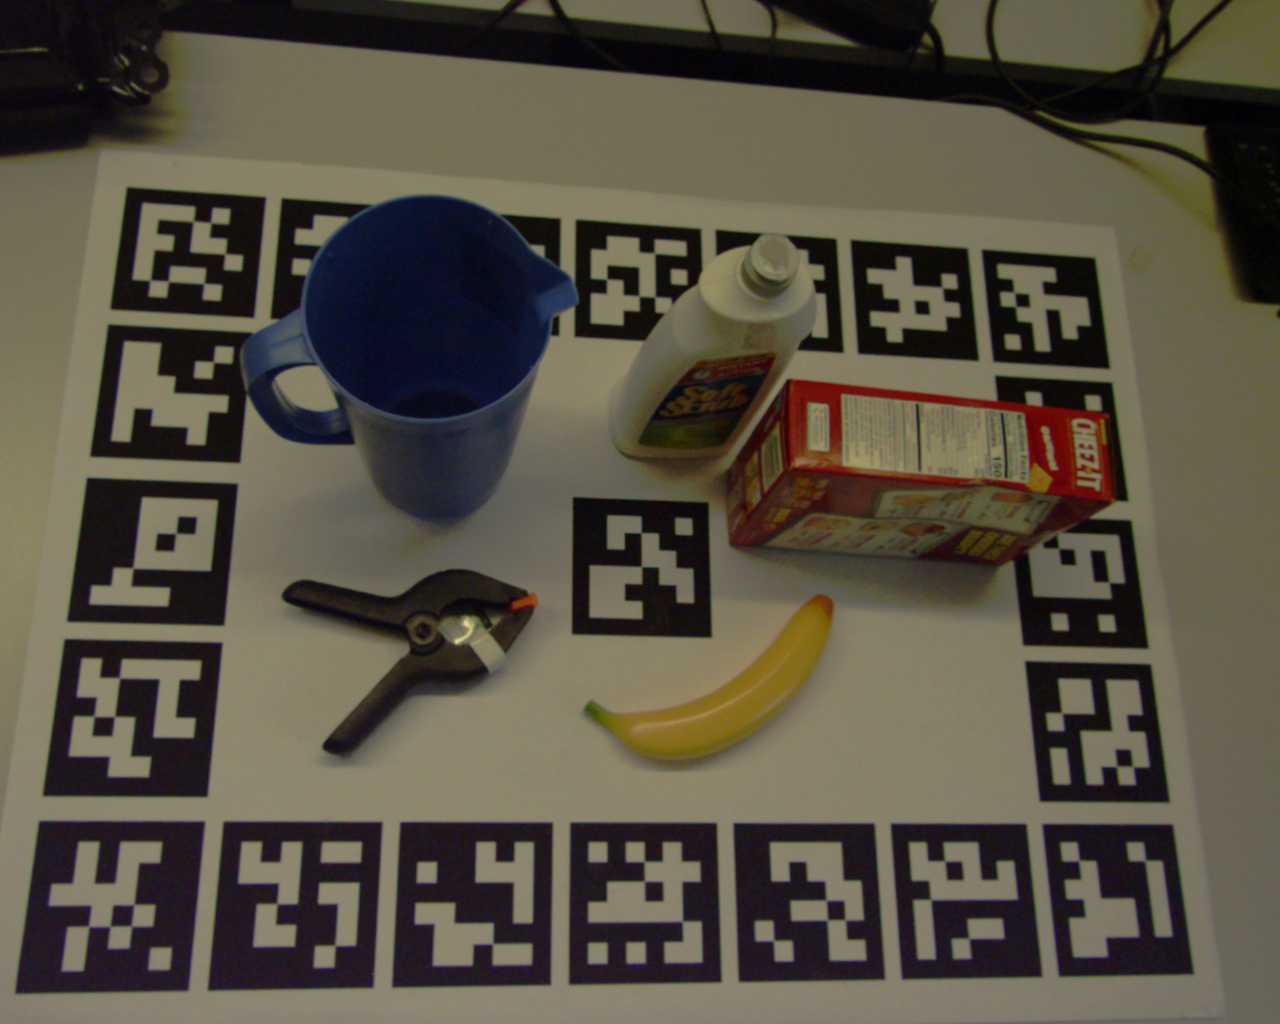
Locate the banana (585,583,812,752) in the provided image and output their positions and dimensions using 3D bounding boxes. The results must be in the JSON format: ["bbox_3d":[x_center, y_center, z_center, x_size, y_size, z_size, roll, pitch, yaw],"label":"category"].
[{"bbox_3d":[0.059,0.121,0.843,0.196,0.039,0.074,-31,78,-16],"label":"banana"}]

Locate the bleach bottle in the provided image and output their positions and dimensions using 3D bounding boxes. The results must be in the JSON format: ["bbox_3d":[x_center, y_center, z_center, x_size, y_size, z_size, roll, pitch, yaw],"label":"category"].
[{"bbox_3d":[0.034,-0.103,0.794,0.102,0.251,0.068,3,71,-8],"label":"bleach bottle"}]

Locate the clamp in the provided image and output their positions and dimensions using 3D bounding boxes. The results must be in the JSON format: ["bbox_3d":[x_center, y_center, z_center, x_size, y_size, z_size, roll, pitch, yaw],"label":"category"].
[{"bbox_3d":[-0.157,0.085,0.816,0.164,0.036,0.122,-13,73,-14],"label":"clamp"}]

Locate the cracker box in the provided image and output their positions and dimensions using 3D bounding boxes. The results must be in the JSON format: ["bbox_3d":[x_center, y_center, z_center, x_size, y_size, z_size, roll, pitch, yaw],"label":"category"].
[{"bbox_3d":[0.182,-0.016,0.815,0.213,0.164,0.072,4,69,-6],"label":"cracker box"}]

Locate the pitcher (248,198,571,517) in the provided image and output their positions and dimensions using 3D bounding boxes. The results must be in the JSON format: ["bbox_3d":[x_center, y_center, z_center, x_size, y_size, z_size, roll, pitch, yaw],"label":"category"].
[{"bbox_3d":[-0.148,-0.079,0.740,0.187,0.243,0.134,-15,74,-16],"label":"pitcher"}]
